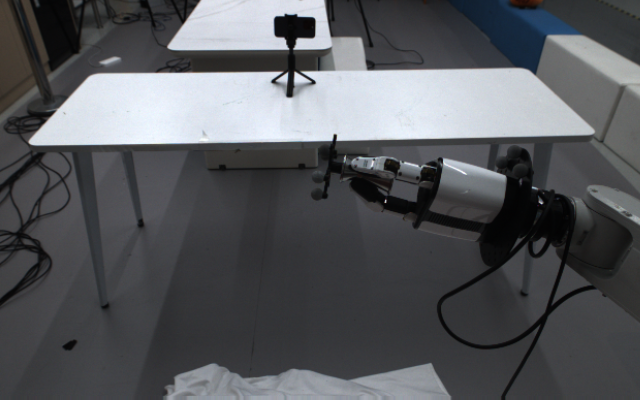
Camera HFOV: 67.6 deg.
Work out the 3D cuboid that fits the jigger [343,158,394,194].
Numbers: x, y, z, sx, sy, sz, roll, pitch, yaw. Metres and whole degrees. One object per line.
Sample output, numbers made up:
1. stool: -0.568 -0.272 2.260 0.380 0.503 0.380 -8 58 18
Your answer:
1. jigger: 0.070 -0.040 0.644 0.071 0.043 0.043 11 35 3
